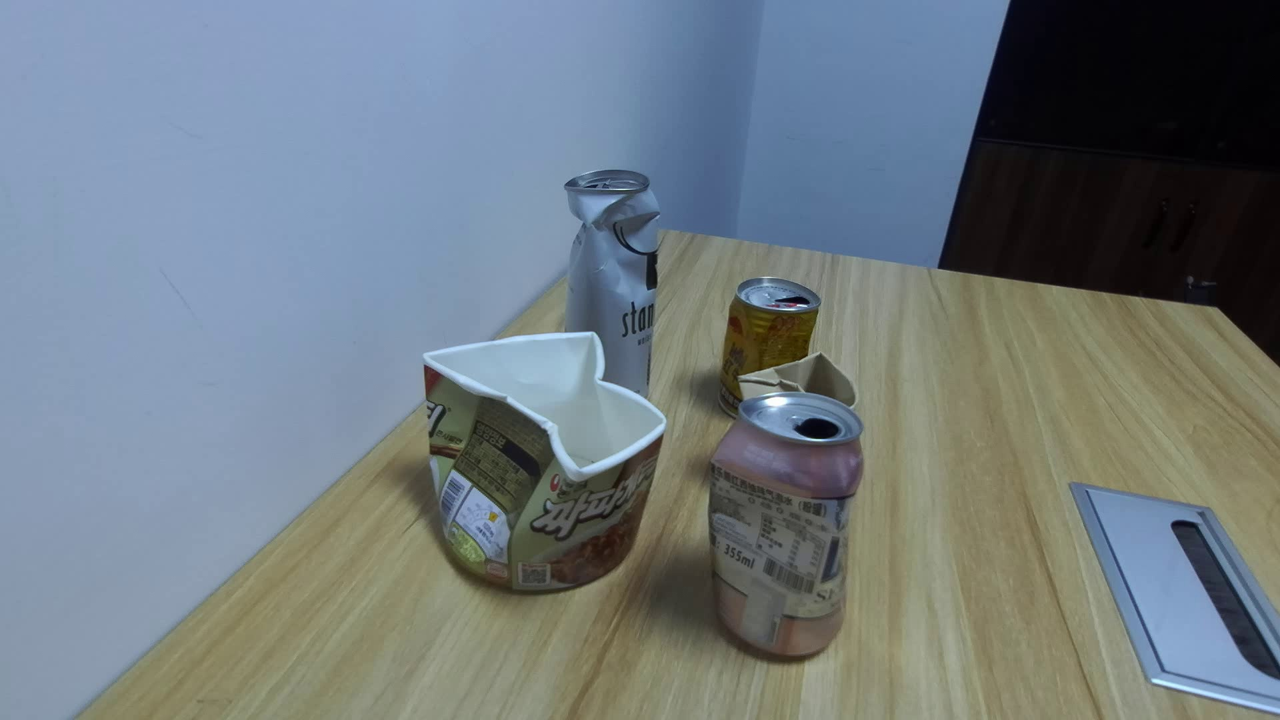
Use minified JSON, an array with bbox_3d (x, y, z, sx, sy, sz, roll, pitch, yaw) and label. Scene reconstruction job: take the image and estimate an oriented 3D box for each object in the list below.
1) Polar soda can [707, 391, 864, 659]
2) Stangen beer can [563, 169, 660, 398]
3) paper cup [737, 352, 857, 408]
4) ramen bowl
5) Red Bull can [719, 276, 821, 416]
[{"bbox_3d":[0.071,0.078,0.341,0.066,0.122,0.071,10,23,26],"label":"Polar soda can"},{"bbox_3d":[-0.023,-0.045,0.493,0.066,0.166,0.065,-19,37,-29],"label":"Stangen beer can"},{"bbox_3d":[0.089,0.048,0.423,0.058,0.083,0.066,-4,30,-12],"label":"paper cup"},{"bbox_3d":[-0.051,0.057,0.382,0.112,0.093,0.127,-10,33,-23],"label":"ramen bowl"},{"bbox_3d":[0.094,-0.007,0.509,0.072,0.092,0.072,3,28,-1],"label":"Red Bull can"}]
